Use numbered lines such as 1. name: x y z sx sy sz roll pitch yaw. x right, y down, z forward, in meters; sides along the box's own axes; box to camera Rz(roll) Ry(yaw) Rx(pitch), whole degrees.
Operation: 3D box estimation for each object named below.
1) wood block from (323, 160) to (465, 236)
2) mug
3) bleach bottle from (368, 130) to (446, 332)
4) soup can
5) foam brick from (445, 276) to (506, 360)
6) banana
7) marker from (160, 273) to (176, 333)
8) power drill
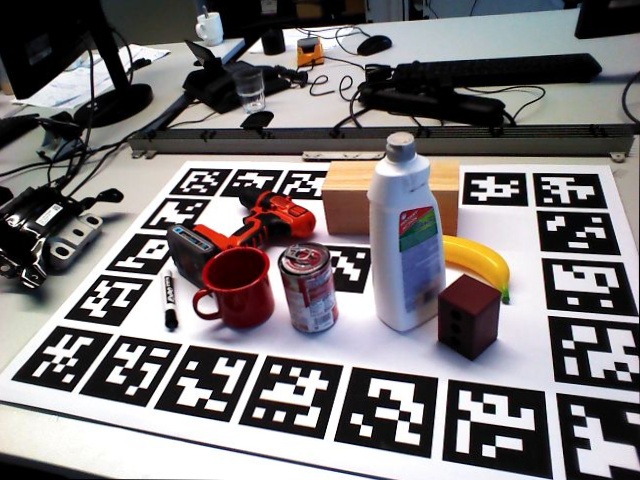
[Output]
1. wood block: 0.121 -0.067 0.815 0.207 0.091 0.089 2 40 16
2. mug: -0.115 0.067 0.702 0.117 0.081 0.093 -29 43 -18
3. bleach bottle: 0.105 -0.012 0.610 0.068 0.251 0.102 25 49 39
4. soup can: -0.012 0.056 0.665 0.068 0.102 0.067 -5 34 3
5. foam brick: 0.182 0.089 0.605 0.051 0.078 0.053 -31 39 -28
6. banana: 0.179 0.008 0.738 0.198 0.039 0.074 15 58 27
7. marker: -0.222 0.091 0.755 0.019 0.020 0.121 -18 38 -6
8. power drill: -0.122 -0.010 0.836 0.185 0.057 0.186 27 50 35
